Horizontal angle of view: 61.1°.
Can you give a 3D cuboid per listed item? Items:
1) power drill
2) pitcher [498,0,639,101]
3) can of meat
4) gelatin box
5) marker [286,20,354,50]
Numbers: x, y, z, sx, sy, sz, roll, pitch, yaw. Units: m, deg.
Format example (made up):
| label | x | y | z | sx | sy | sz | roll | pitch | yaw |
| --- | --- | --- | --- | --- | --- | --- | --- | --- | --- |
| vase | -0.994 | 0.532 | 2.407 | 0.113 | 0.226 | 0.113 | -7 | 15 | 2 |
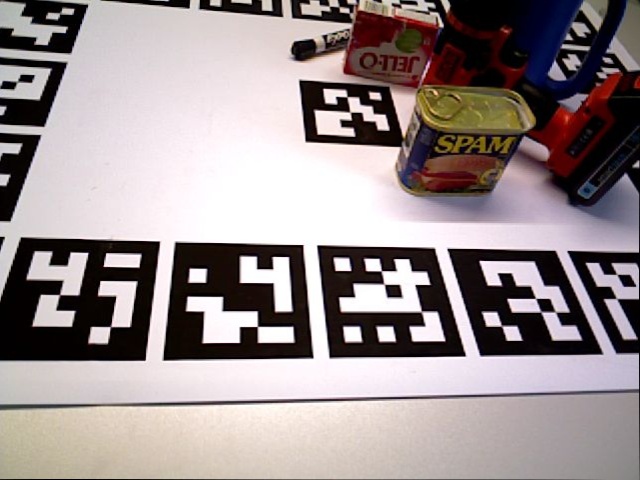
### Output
| label | x | y | z | sx | sy | sz | roll | pitch | yaw |
| --- | --- | --- | --- | --- | --- | --- | --- | --- | --- |
| power drill | 0.188 | -0.163 | 0.496 | 0.187 | 0.189 | 0.056 | 33 | 55 | 7 |
| pitcher | 0.229 | -0.256 | 0.547 | 0.189 | 0.248 | 0.130 | 24 | 54 | 16 |
| can of meat | 0.119 | -0.086 | 0.484 | 0.101 | 0.086 | 0.057 | 1 | 50 | -11 |
| gelatin box | 0.076 | -0.209 | 0.583 | 0.089 | 0.075 | 0.029 | 11 | 55 | -4 |
| marker | 0.014 | -0.239 | 0.625 | 0.119 | 0.020 | 0.019 | -22 | 60 | -24 |
